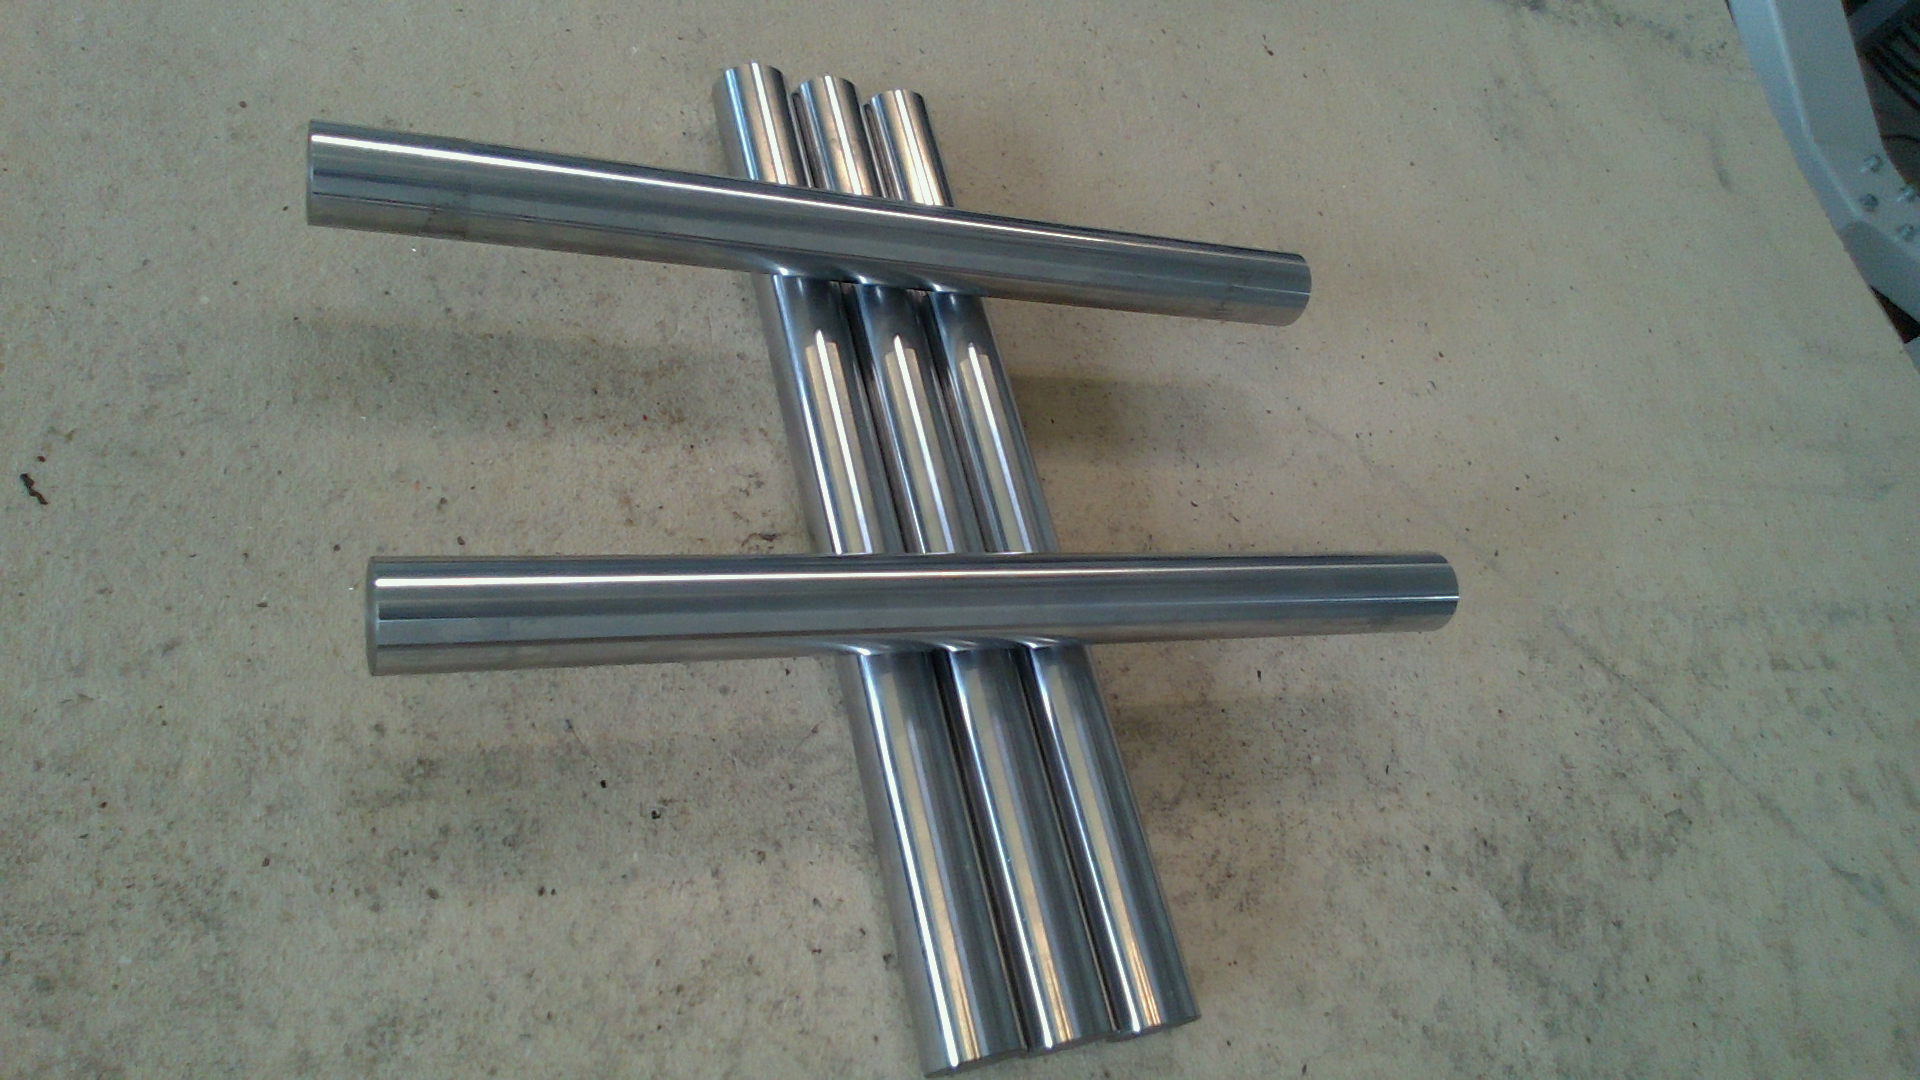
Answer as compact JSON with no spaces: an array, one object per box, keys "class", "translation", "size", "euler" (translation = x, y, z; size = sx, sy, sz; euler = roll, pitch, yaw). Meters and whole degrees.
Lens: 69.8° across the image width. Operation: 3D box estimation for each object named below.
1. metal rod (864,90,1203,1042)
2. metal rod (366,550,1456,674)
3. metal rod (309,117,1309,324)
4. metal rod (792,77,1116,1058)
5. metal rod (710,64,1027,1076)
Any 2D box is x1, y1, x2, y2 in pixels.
[{"class":"metal rod","translation":[0.013,-0.011,0.403],"size":[0.025,0.025,0.300],"euler":[-1,62,-29]},{"class":"metal rod","translation":[0.011,0.015,0.354],"size":[0.301,0.025,0.025],"euler":[0,62,-28]},{"class":"metal rod","translation":[-0.022,-0.087,0.399],"size":[0.301,0.025,0.025],"euler":[1,61,-28]},{"class":"metal rod","translation":[-0.010,-0.011,0.391],"size":[0.025,0.025,0.300],"euler":[-1,62,-29]},{"class":"metal rod","translation":[-0.032,-0.011,0.379],"size":[0.025,0.025,0.300],"euler":[-1,62,-29]}]
